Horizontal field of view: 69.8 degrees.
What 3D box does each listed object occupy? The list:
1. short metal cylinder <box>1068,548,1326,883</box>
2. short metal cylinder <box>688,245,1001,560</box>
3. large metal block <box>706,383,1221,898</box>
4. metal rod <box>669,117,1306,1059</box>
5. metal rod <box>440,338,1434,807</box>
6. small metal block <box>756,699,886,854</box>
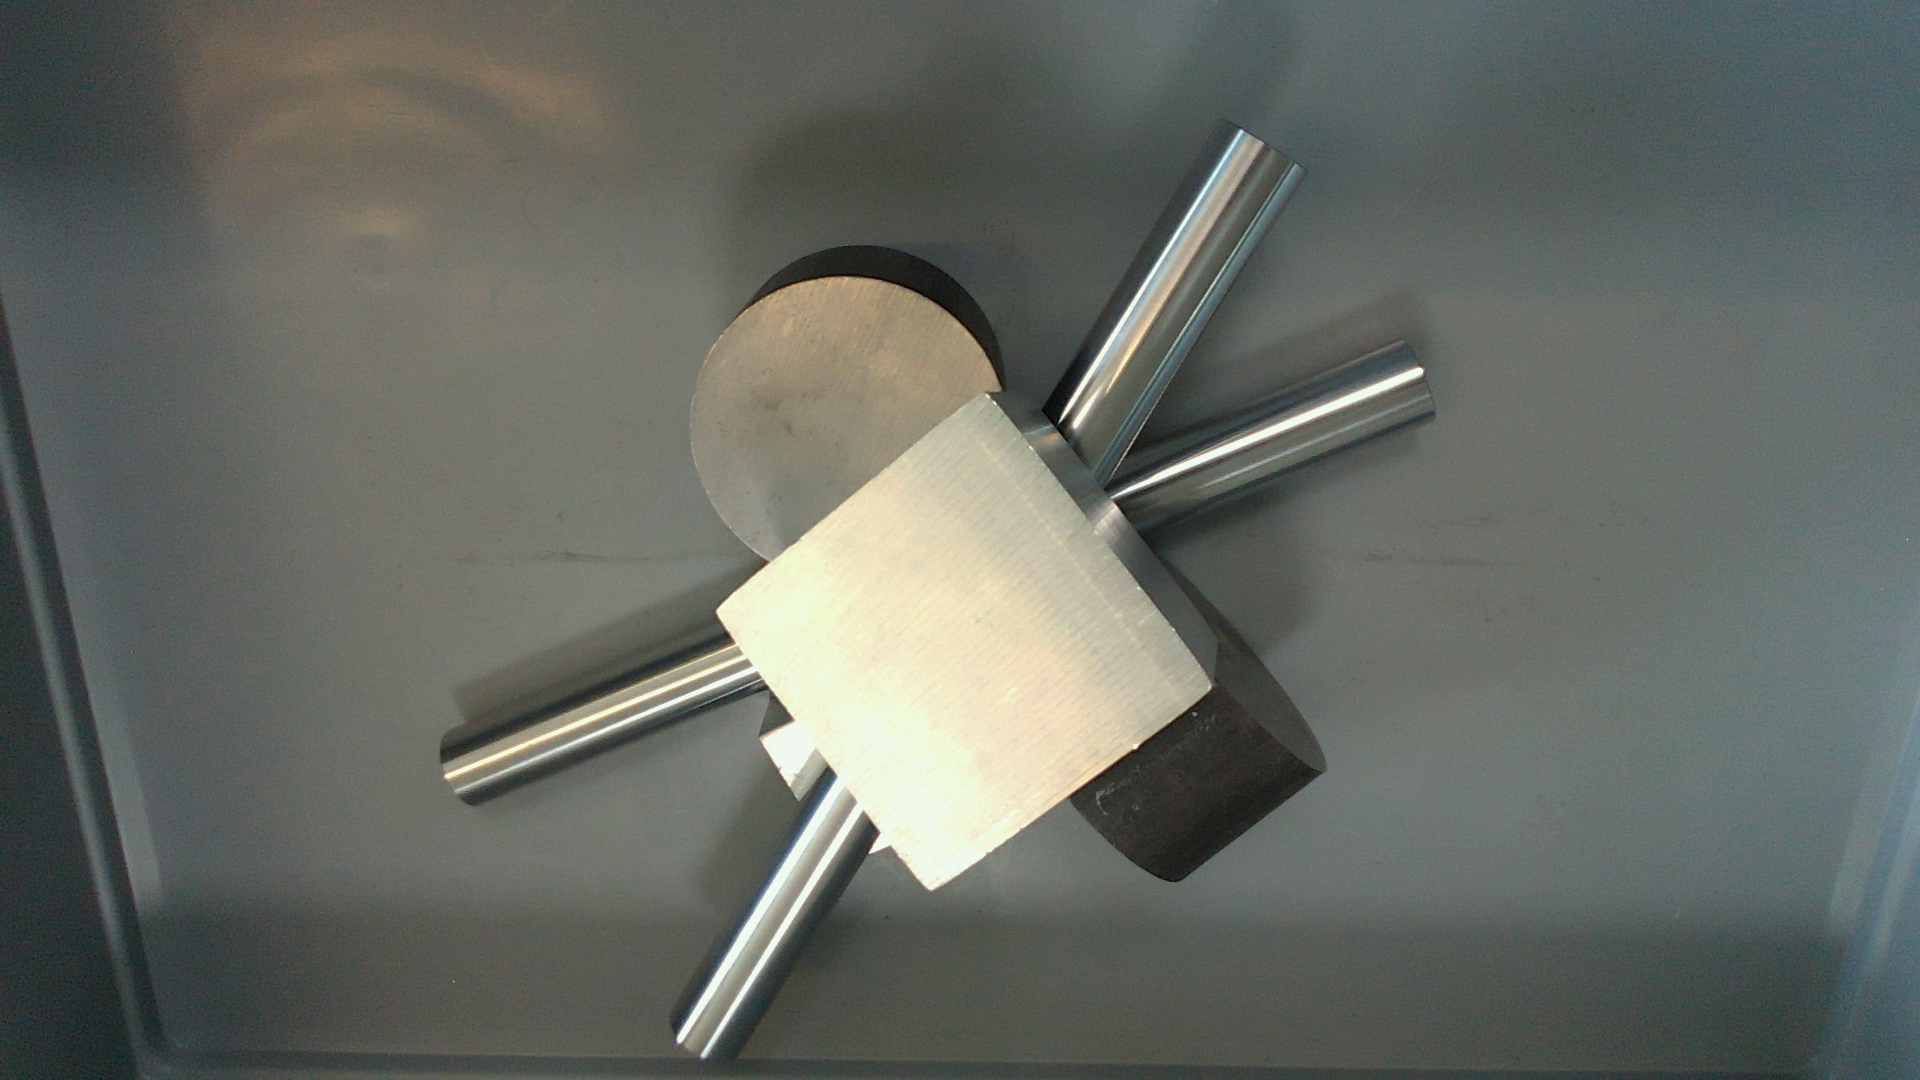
[{"bbox_3d":[0.056,0.046,0.381,0.050,0.080,0.080,-41,105,15],"label":"short metal cylinder"},{"bbox_3d":[-0.028,-0.035,0.366,0.080,0.050,0.080,0,110,0],"label":"short metal cylinder"},{"bbox_3d":[0.004,0.020,0.320,0.080,0.050,0.080,-38,89,13],"label":"large metal block"},{"bbox_3d":[-0.002,0.026,0.376,0.025,0.025,0.300,29,107,-10],"label":"metal rod"},{"bbox_3d":[-0.013,0.013,0.397,0.300,0.025,0.025,-22,109,8],"label":"metal rod"},{"bbox_3d":[-0.026,0.064,0.416,0.050,0.025,0.050,-27,108,9],"label":"small metal block"}]
